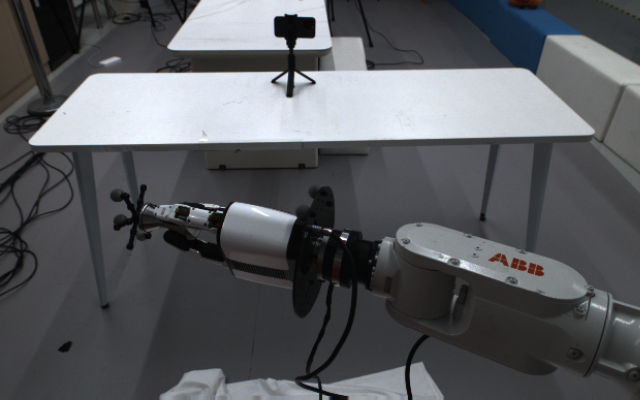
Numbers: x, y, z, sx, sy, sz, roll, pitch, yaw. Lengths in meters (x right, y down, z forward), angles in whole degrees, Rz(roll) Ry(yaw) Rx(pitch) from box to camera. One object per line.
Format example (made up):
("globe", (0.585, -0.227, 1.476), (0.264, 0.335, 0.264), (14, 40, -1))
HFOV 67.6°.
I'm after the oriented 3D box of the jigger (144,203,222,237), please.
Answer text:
("jigger", (-0.188, 0.024, 0.637), (0.071, 0.043, 0.043), (4, 34, 13))
